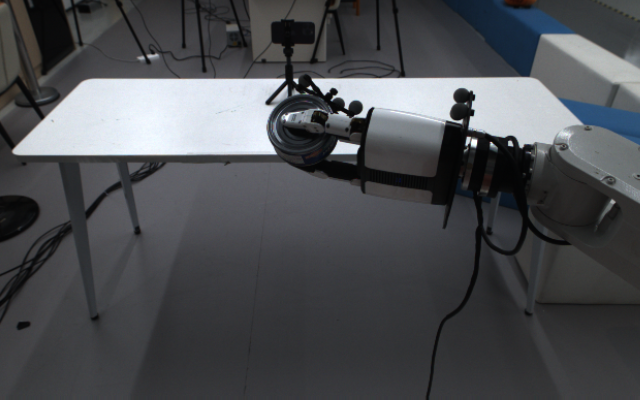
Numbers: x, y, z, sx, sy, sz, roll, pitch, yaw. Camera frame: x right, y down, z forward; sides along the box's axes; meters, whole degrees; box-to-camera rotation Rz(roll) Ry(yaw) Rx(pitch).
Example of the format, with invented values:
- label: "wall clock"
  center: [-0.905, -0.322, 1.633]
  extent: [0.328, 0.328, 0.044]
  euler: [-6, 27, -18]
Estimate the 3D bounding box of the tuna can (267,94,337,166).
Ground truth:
- label: "tuna can"
  center: [-0.020, -0.089, 0.599]
  extent: [0.085, 0.034, 0.085]
  euler: [-4, 69, 10]
